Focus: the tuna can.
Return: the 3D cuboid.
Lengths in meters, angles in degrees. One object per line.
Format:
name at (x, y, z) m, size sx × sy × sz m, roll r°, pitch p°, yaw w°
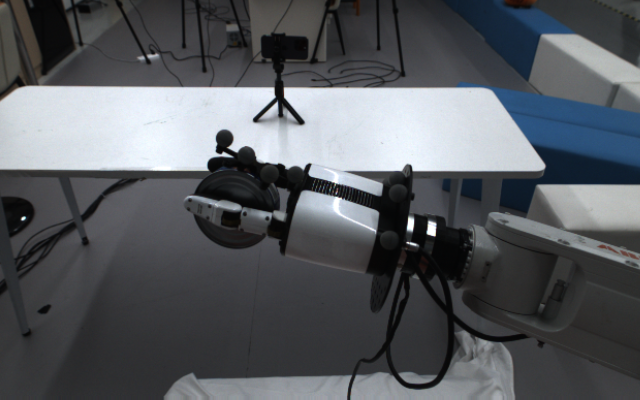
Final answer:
tuna can at (-0.083, 0.005, 0.505) m, size 0.085 × 0.085 × 0.034 m, roll 7°, pitch 17°, yaw 6°
